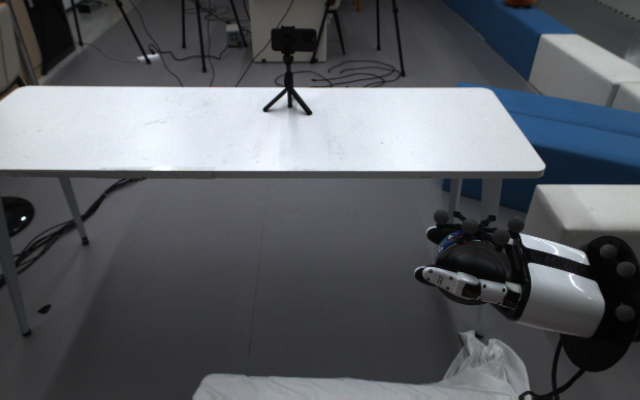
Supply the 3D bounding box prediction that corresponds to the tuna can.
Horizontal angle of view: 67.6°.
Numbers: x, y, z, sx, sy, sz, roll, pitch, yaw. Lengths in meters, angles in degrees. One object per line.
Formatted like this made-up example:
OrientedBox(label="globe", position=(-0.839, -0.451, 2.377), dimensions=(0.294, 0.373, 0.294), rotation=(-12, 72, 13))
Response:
OrientedBox(label="tuna can", position=(0.177, 0.075, 0.563), dimensions=(0.085, 0.085, 0.034), rotation=(9, 22, 10))
